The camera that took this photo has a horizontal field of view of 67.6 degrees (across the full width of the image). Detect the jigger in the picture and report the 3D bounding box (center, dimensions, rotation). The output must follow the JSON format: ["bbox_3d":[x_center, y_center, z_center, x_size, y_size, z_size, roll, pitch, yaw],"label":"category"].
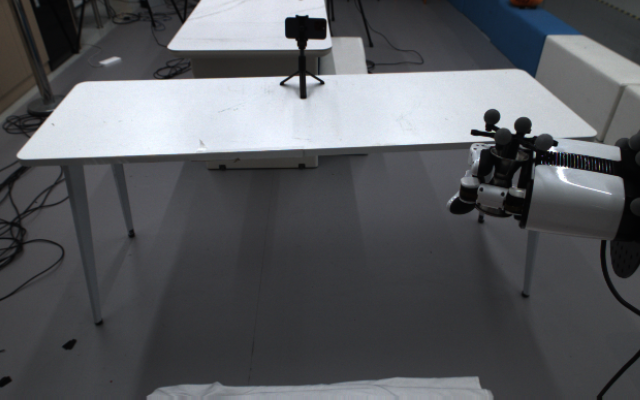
[{"bbox_3d":[0.203,-0.020,0.540,0.043,0.071,0.043,6,26,-3],"label":"jigger"}]
